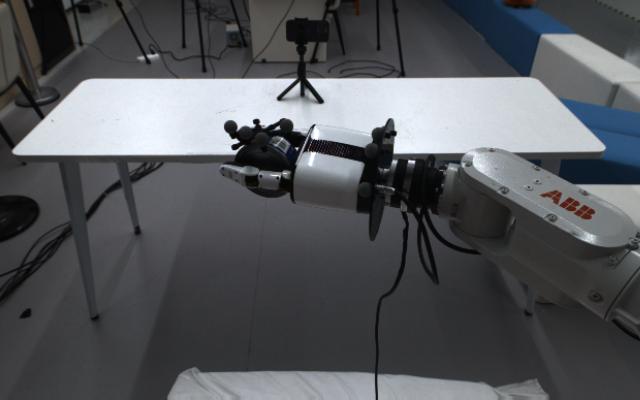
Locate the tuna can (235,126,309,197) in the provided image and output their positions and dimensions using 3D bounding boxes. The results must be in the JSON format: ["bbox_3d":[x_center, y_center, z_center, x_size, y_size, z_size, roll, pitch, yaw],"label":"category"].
[{"bbox_3d":[-0.068,-0.047,0.654,0.085,0.085,0.034,11,39,13],"label":"tuna can"}]
